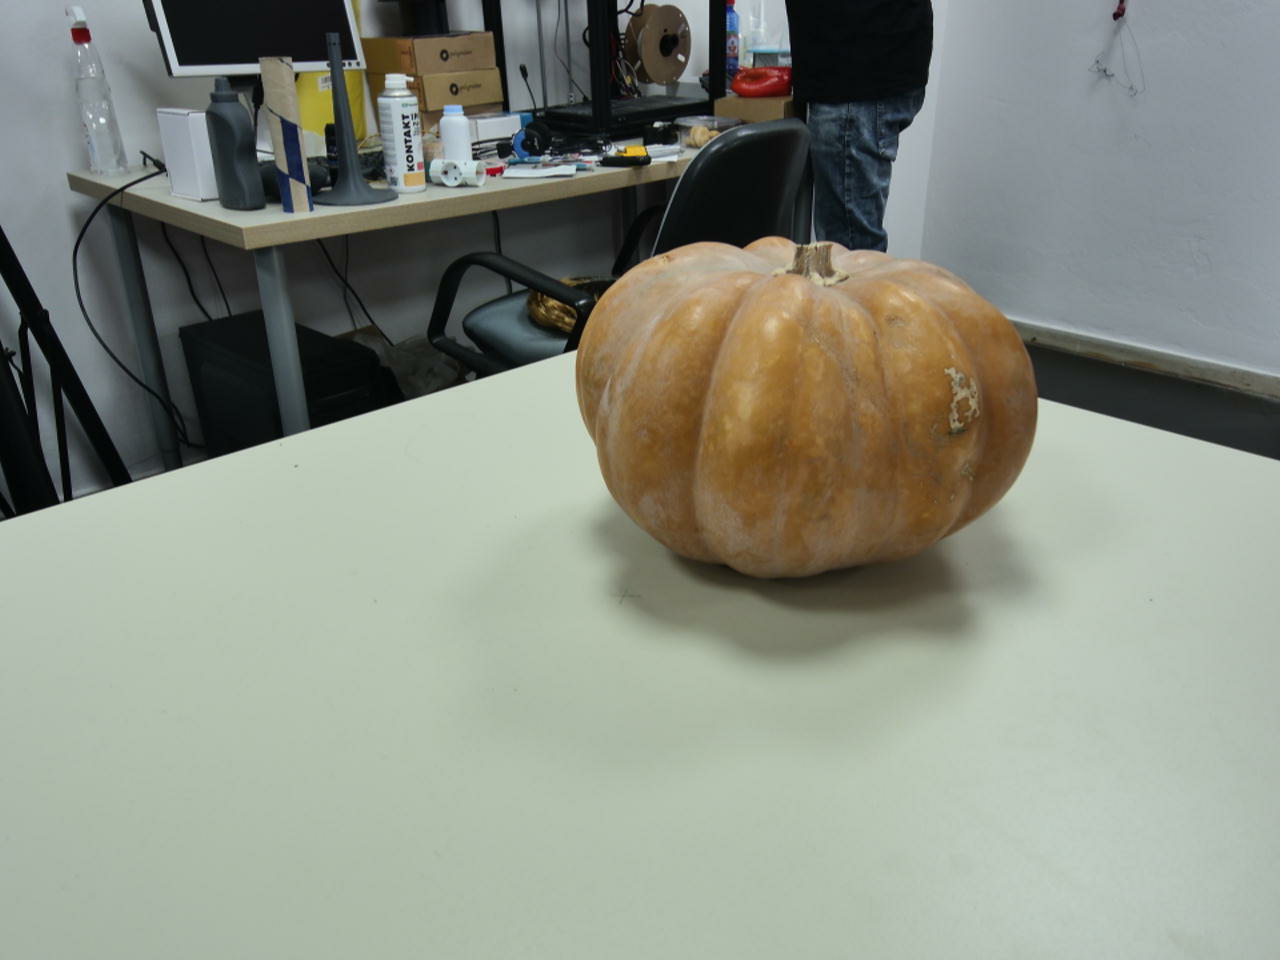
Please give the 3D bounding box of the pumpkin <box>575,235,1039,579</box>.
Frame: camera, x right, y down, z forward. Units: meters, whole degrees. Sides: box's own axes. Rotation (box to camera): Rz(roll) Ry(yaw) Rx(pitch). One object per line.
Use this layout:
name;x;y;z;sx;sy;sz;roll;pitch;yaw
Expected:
pumpkin;0.092;-0.052;0.602;0.277;0.181;0.277;0;25;0
